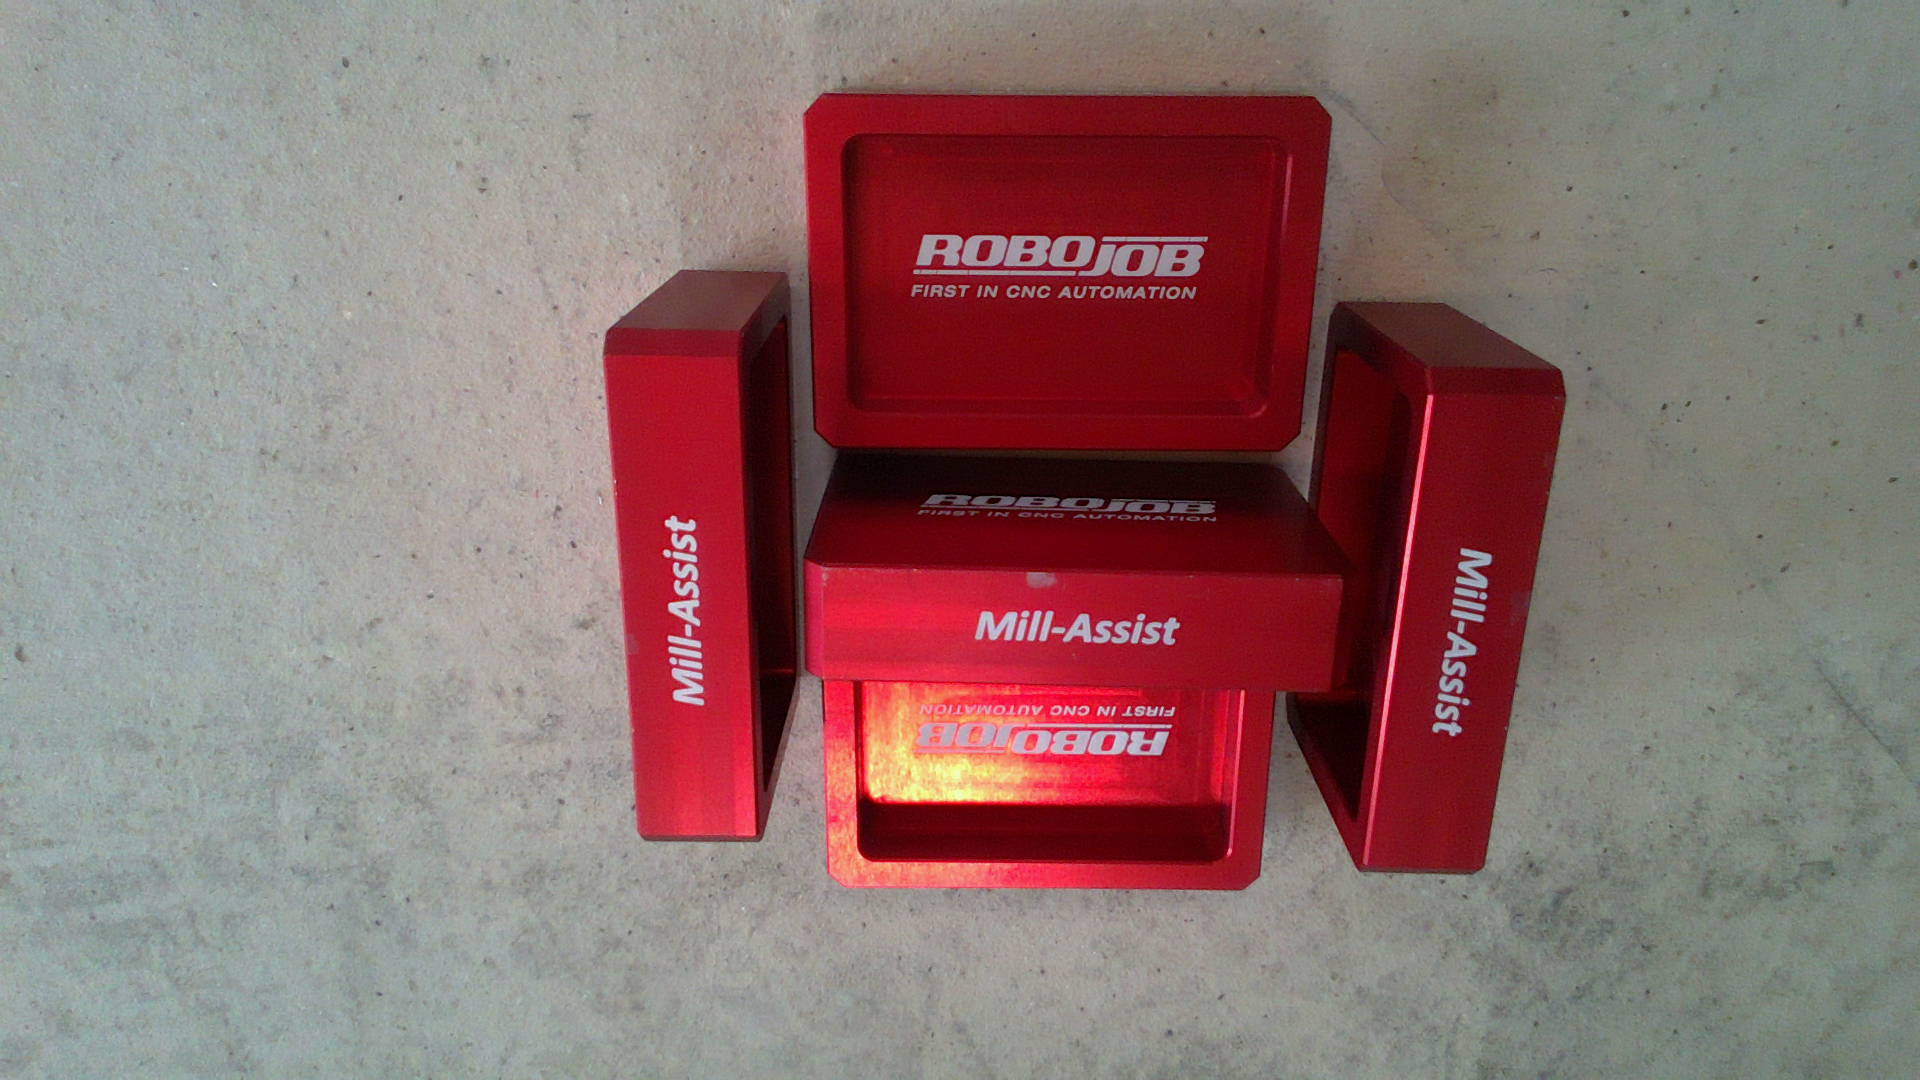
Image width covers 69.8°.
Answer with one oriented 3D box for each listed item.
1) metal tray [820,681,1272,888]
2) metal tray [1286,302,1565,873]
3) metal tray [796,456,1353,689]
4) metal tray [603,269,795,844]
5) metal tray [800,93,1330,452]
[{"bbox_3d":[0.025,0.058,0.414,0.130,0.030,0.090,0,109,0],"label":"metal tray"},{"bbox_3d":[0.117,0.009,0.364,0.030,0.090,0.130,1,110,0],"label":"metal tray"},{"bbox_3d":[0.027,0.004,0.363,0.130,0.090,0.030,1,111,-1],"label":"metal tray"},{"bbox_3d":[-0.064,0.001,0.360,0.030,0.090,0.130,1,111,-1],"label":"metal tray"},{"bbox_3d":[0.026,-0.071,0.366,0.130,0.030,0.090,0,113,0],"label":"metal tray"}]
